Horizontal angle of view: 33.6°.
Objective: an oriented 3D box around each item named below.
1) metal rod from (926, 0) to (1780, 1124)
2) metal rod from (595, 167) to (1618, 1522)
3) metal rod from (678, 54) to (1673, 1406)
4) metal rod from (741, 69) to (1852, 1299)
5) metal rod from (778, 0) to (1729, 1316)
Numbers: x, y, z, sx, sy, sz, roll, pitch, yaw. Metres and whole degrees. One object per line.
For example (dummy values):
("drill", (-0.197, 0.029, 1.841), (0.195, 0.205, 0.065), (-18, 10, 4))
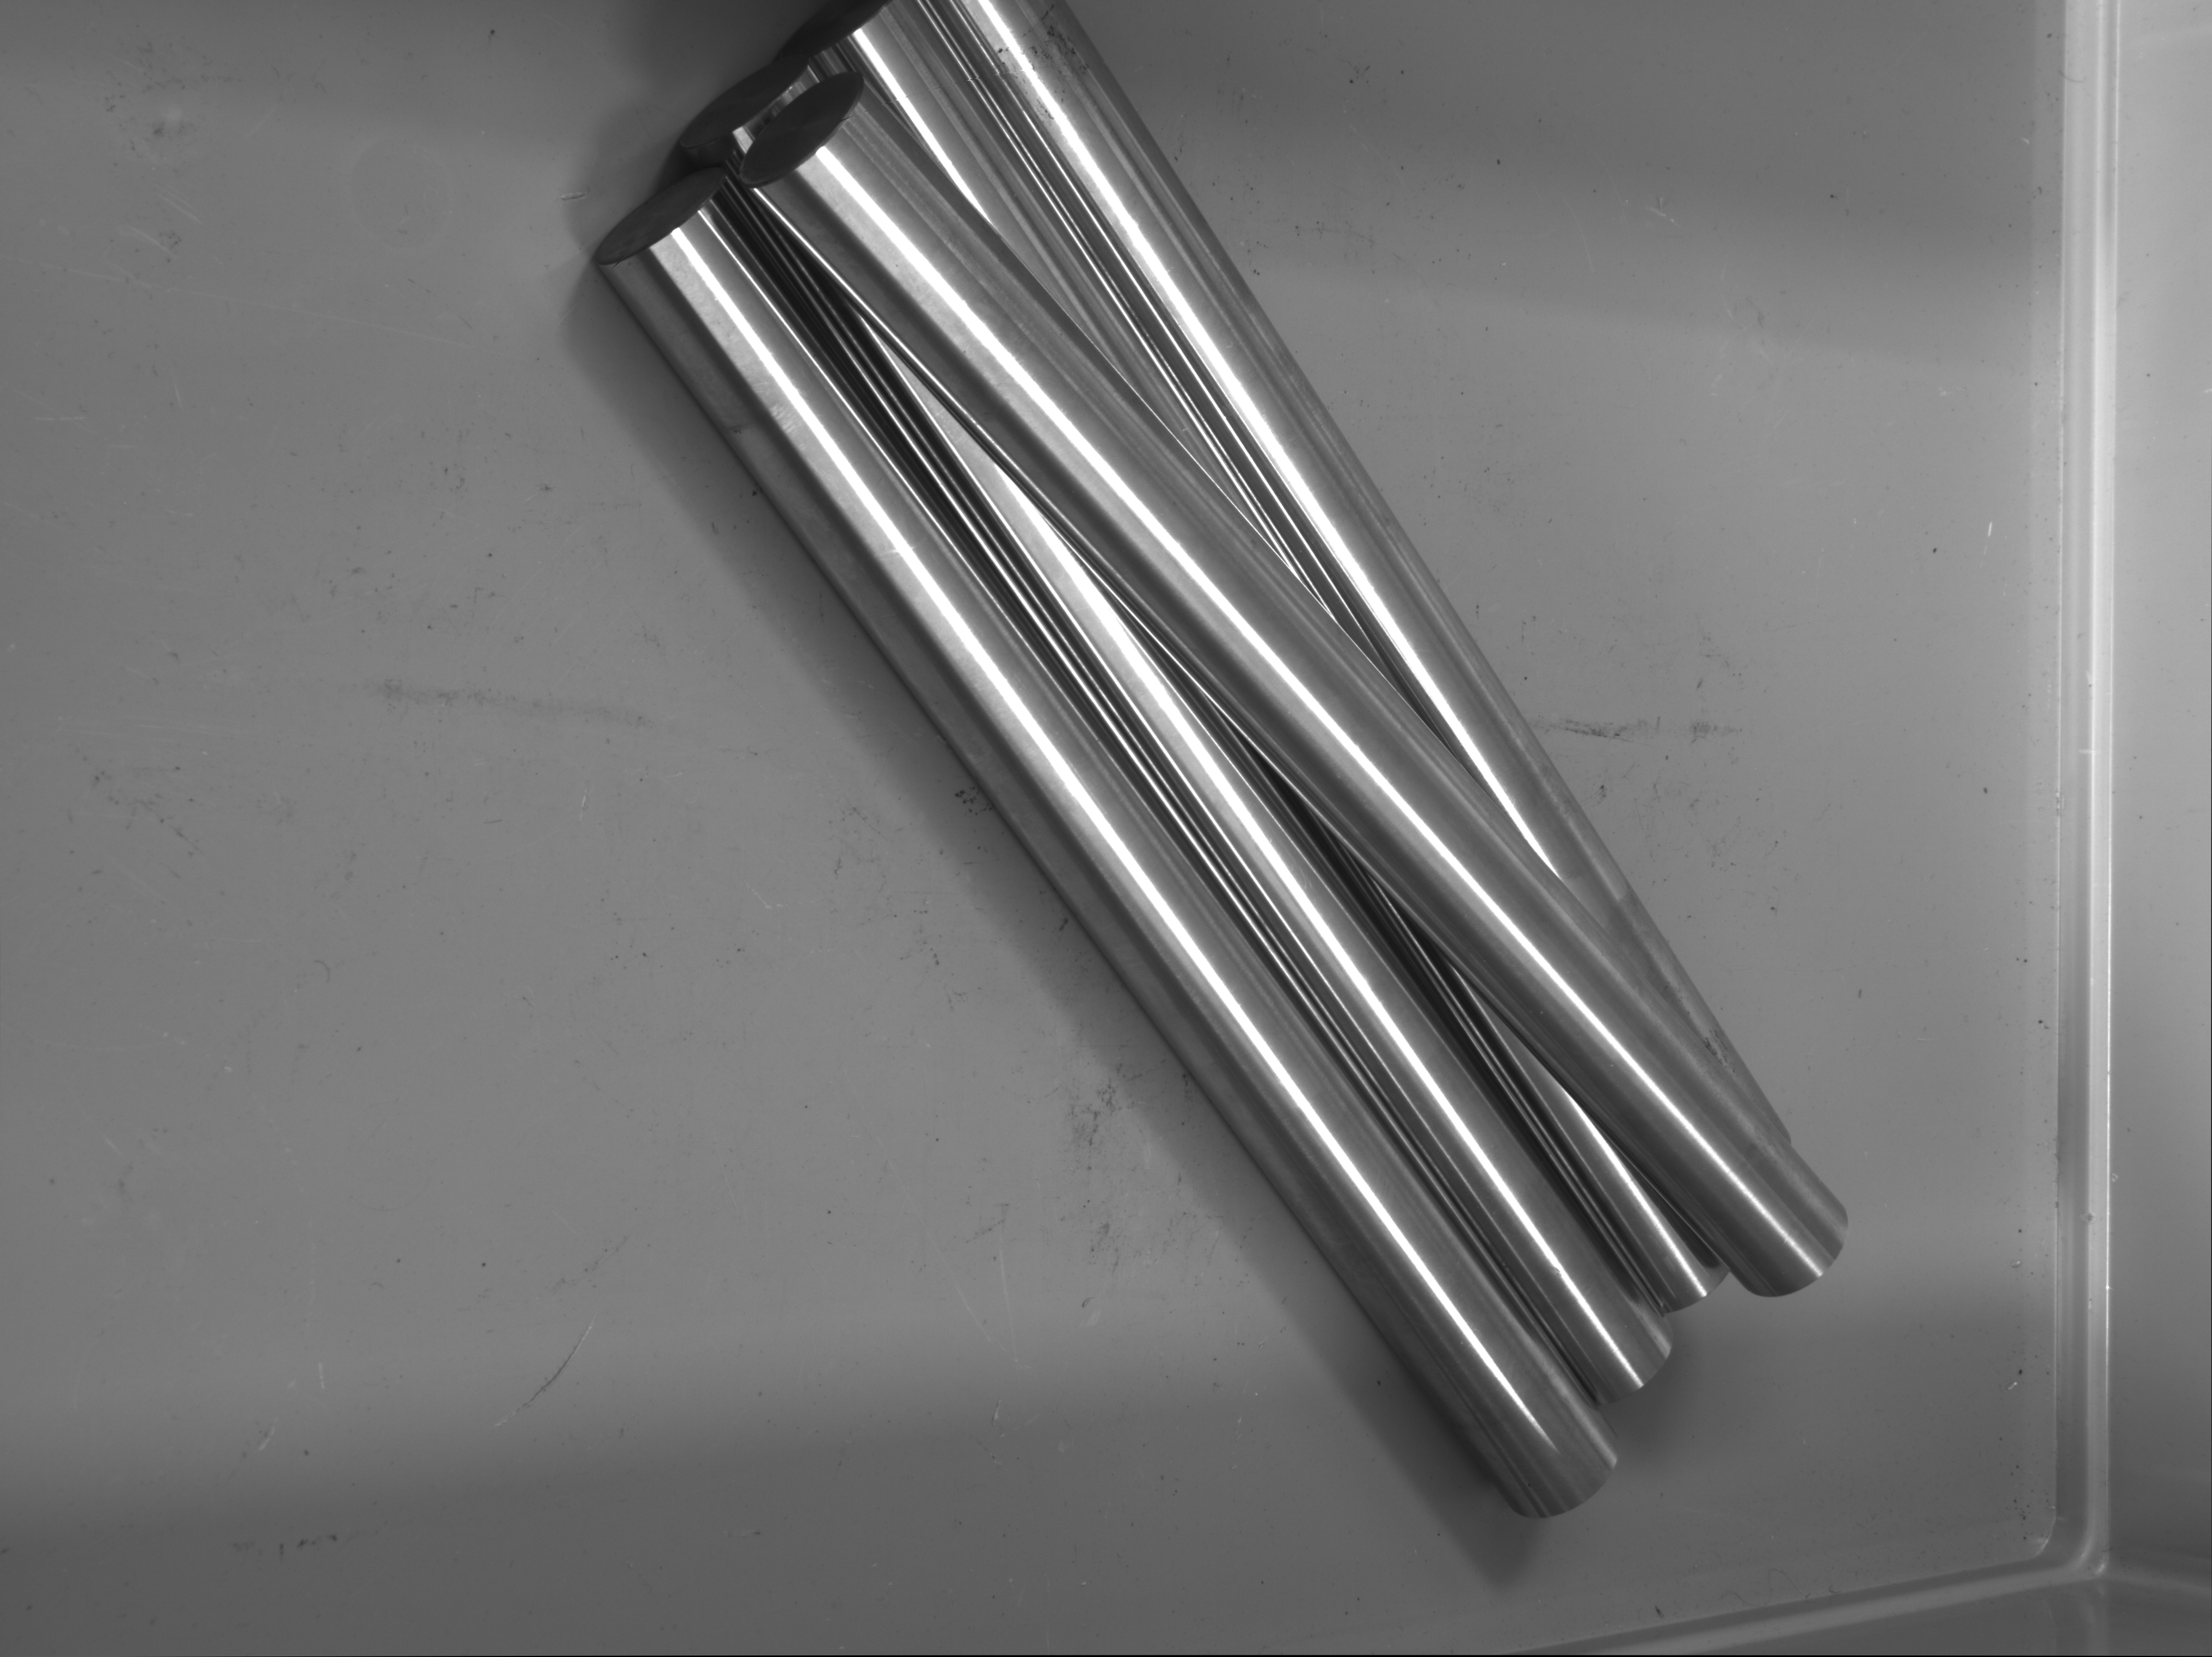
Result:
("metal rod", (0.048, -0.042, 0.674), (0.025, 0.025, 0.301), (-50, 119, -28))
("metal rod", (0.009, 0.014, 0.642), (0.025, 0.025, 0.301), (-50, 119, -28))
("metal rod", (0.021, -0.006, 0.652), (0.025, 0.025, 0.301), (-50, 119, -28))
("metal rod", (0.044, -0.013, 0.637), (0.301, 0.025, 0.025), (46, 62, -30))
("metal rod", (0.035, -0.022, 0.664), (0.025, 0.025, 0.301), (-50, 119, -28))
